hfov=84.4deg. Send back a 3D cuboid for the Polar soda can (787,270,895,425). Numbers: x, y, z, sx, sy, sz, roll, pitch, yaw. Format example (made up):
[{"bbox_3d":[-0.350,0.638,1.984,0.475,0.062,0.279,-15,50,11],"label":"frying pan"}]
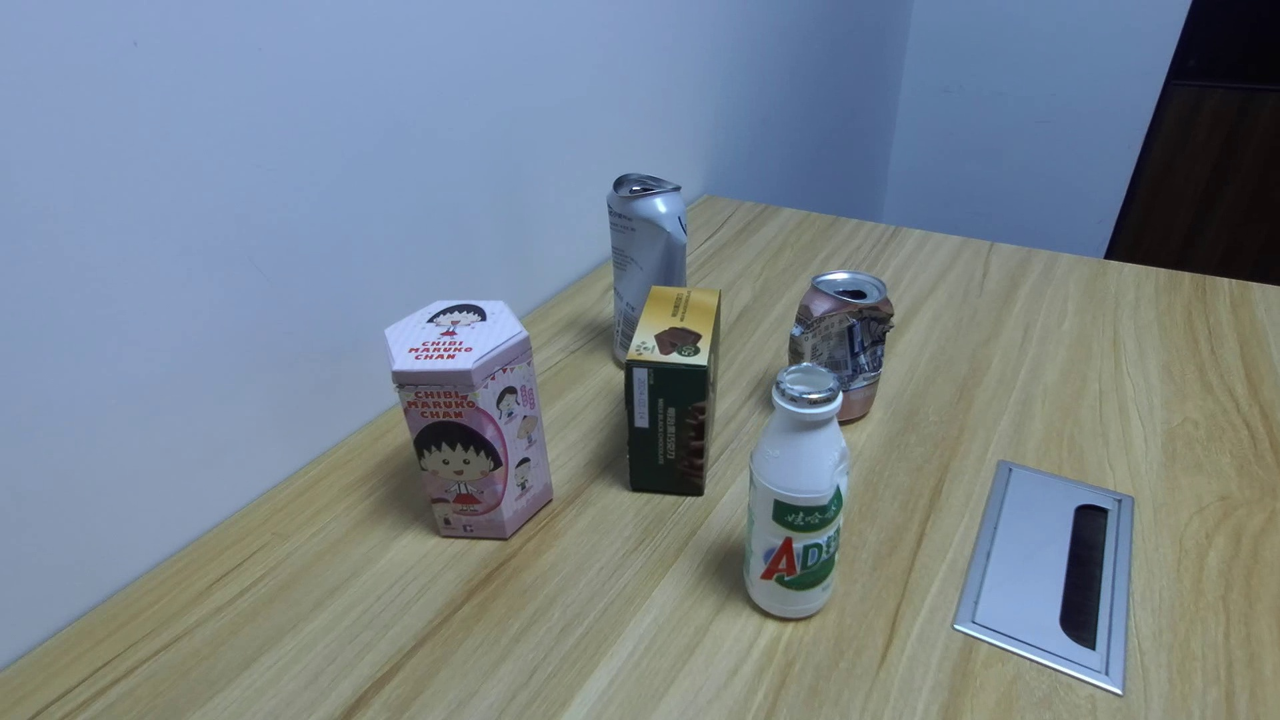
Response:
[{"bbox_3d":[0.153,-0.010,0.541,0.070,0.114,0.074,14,39,17],"label":"Polar soda can"}]

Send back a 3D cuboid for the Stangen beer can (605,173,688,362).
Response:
[{"bbox_3d":[0.008,-0.070,0.593,0.077,0.162,0.066,7,34,15],"label":"Stangen beer can"}]

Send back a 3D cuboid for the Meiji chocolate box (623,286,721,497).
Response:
[{"bbox_3d":[0.026,0.020,0.501,0.056,0.109,0.110,4,33,9],"label":"Meiji chocolate box"}]

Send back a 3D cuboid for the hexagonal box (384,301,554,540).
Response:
[{"bbox_3d":[-0.108,0.040,0.458,0.091,0.136,0.084,0,32,5],"label":"hexagonal box"}]

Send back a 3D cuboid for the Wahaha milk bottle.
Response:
[{"bbox_3d":[0.086,0.078,0.382,0.053,0.137,0.053,-2,30,1],"label":"Wahaha milk bottle"}]
